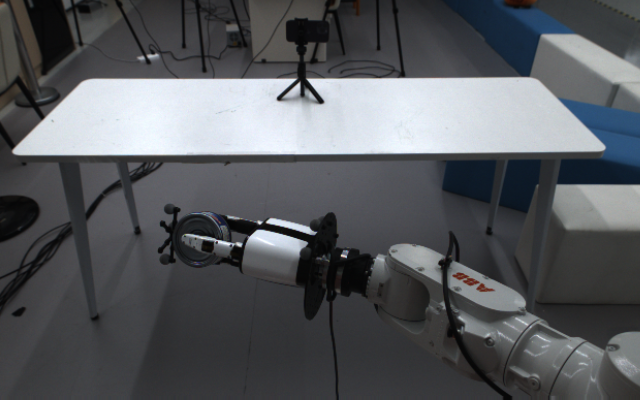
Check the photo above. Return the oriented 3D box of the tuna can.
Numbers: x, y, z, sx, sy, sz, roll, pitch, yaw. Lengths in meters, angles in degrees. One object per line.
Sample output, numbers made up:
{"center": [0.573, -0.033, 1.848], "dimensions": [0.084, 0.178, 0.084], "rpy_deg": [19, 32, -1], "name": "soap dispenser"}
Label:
{"center": [-0.180, 0.063, 0.742], "dimensions": [0.085, 0.085, 0.034], "rpy_deg": [10, 4, 11], "name": "tuna can"}
